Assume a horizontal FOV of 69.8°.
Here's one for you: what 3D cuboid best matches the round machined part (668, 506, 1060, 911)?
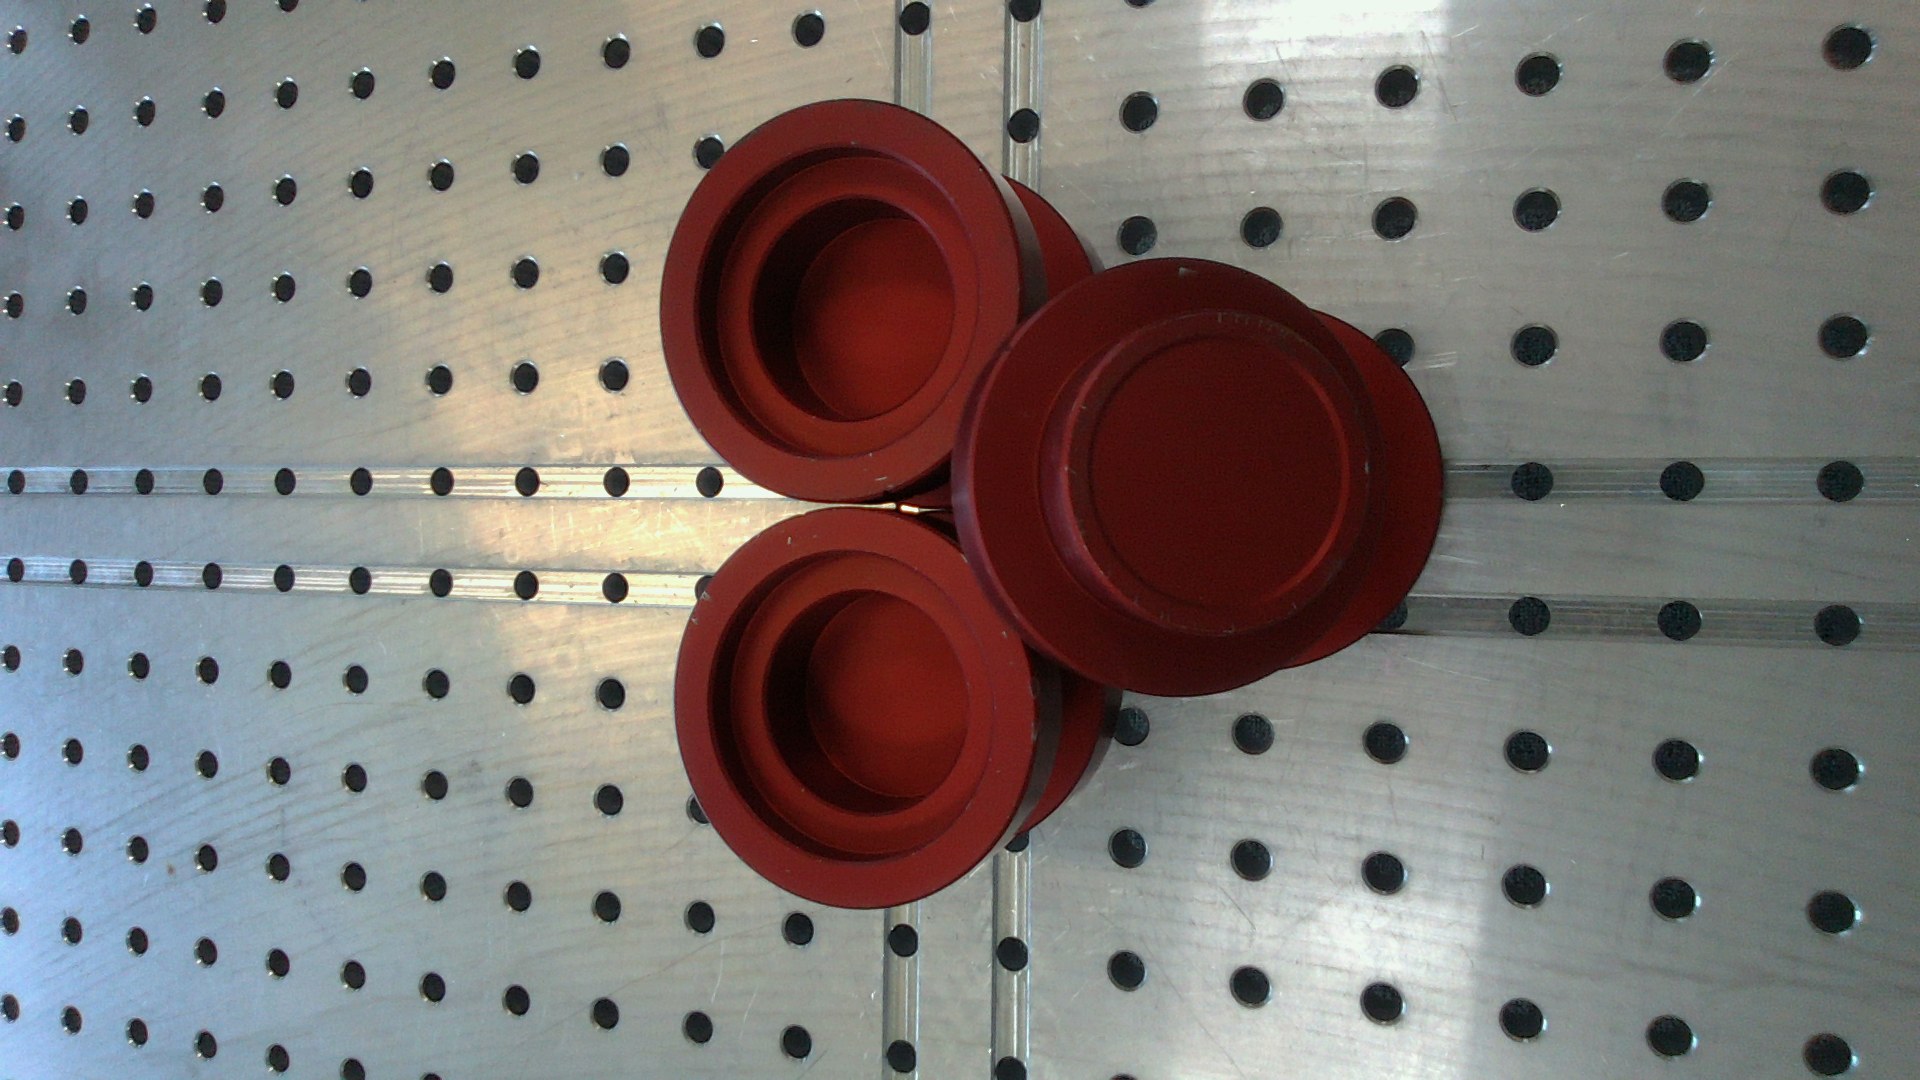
[{"bbox_3d":[-0.021,0.041,0.352,0.098,0.042,0.098,0,90,20],"label":"round machined part"}]

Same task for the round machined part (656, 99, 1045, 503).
[{"bbox_3d":[-0.025,-0.058,0.353,0.098,0.042,0.098,0,90,20],"label":"round machined part"}]

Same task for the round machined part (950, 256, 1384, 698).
[{"bbox_3d":[0.050,-0.014,0.304,0.098,0.042,0.098,0,89,-12],"label":"round machined part"}]

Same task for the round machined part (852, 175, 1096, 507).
[{"bbox_3d":[-0.008,-0.058,0.393,0.098,0.042,0.098,0,90,20],"label":"round machined part"}]

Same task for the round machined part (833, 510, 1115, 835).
[{"bbox_3d":[-0.007,0.040,0.393,0.098,0.042,0.098,0,90,20],"label":"round machined part"}]

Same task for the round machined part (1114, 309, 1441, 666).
[{"bbox_3d":[0.075,-0.015,0.363,0.098,0.042,0.098,0,90,20],"label":"round machined part"}]
